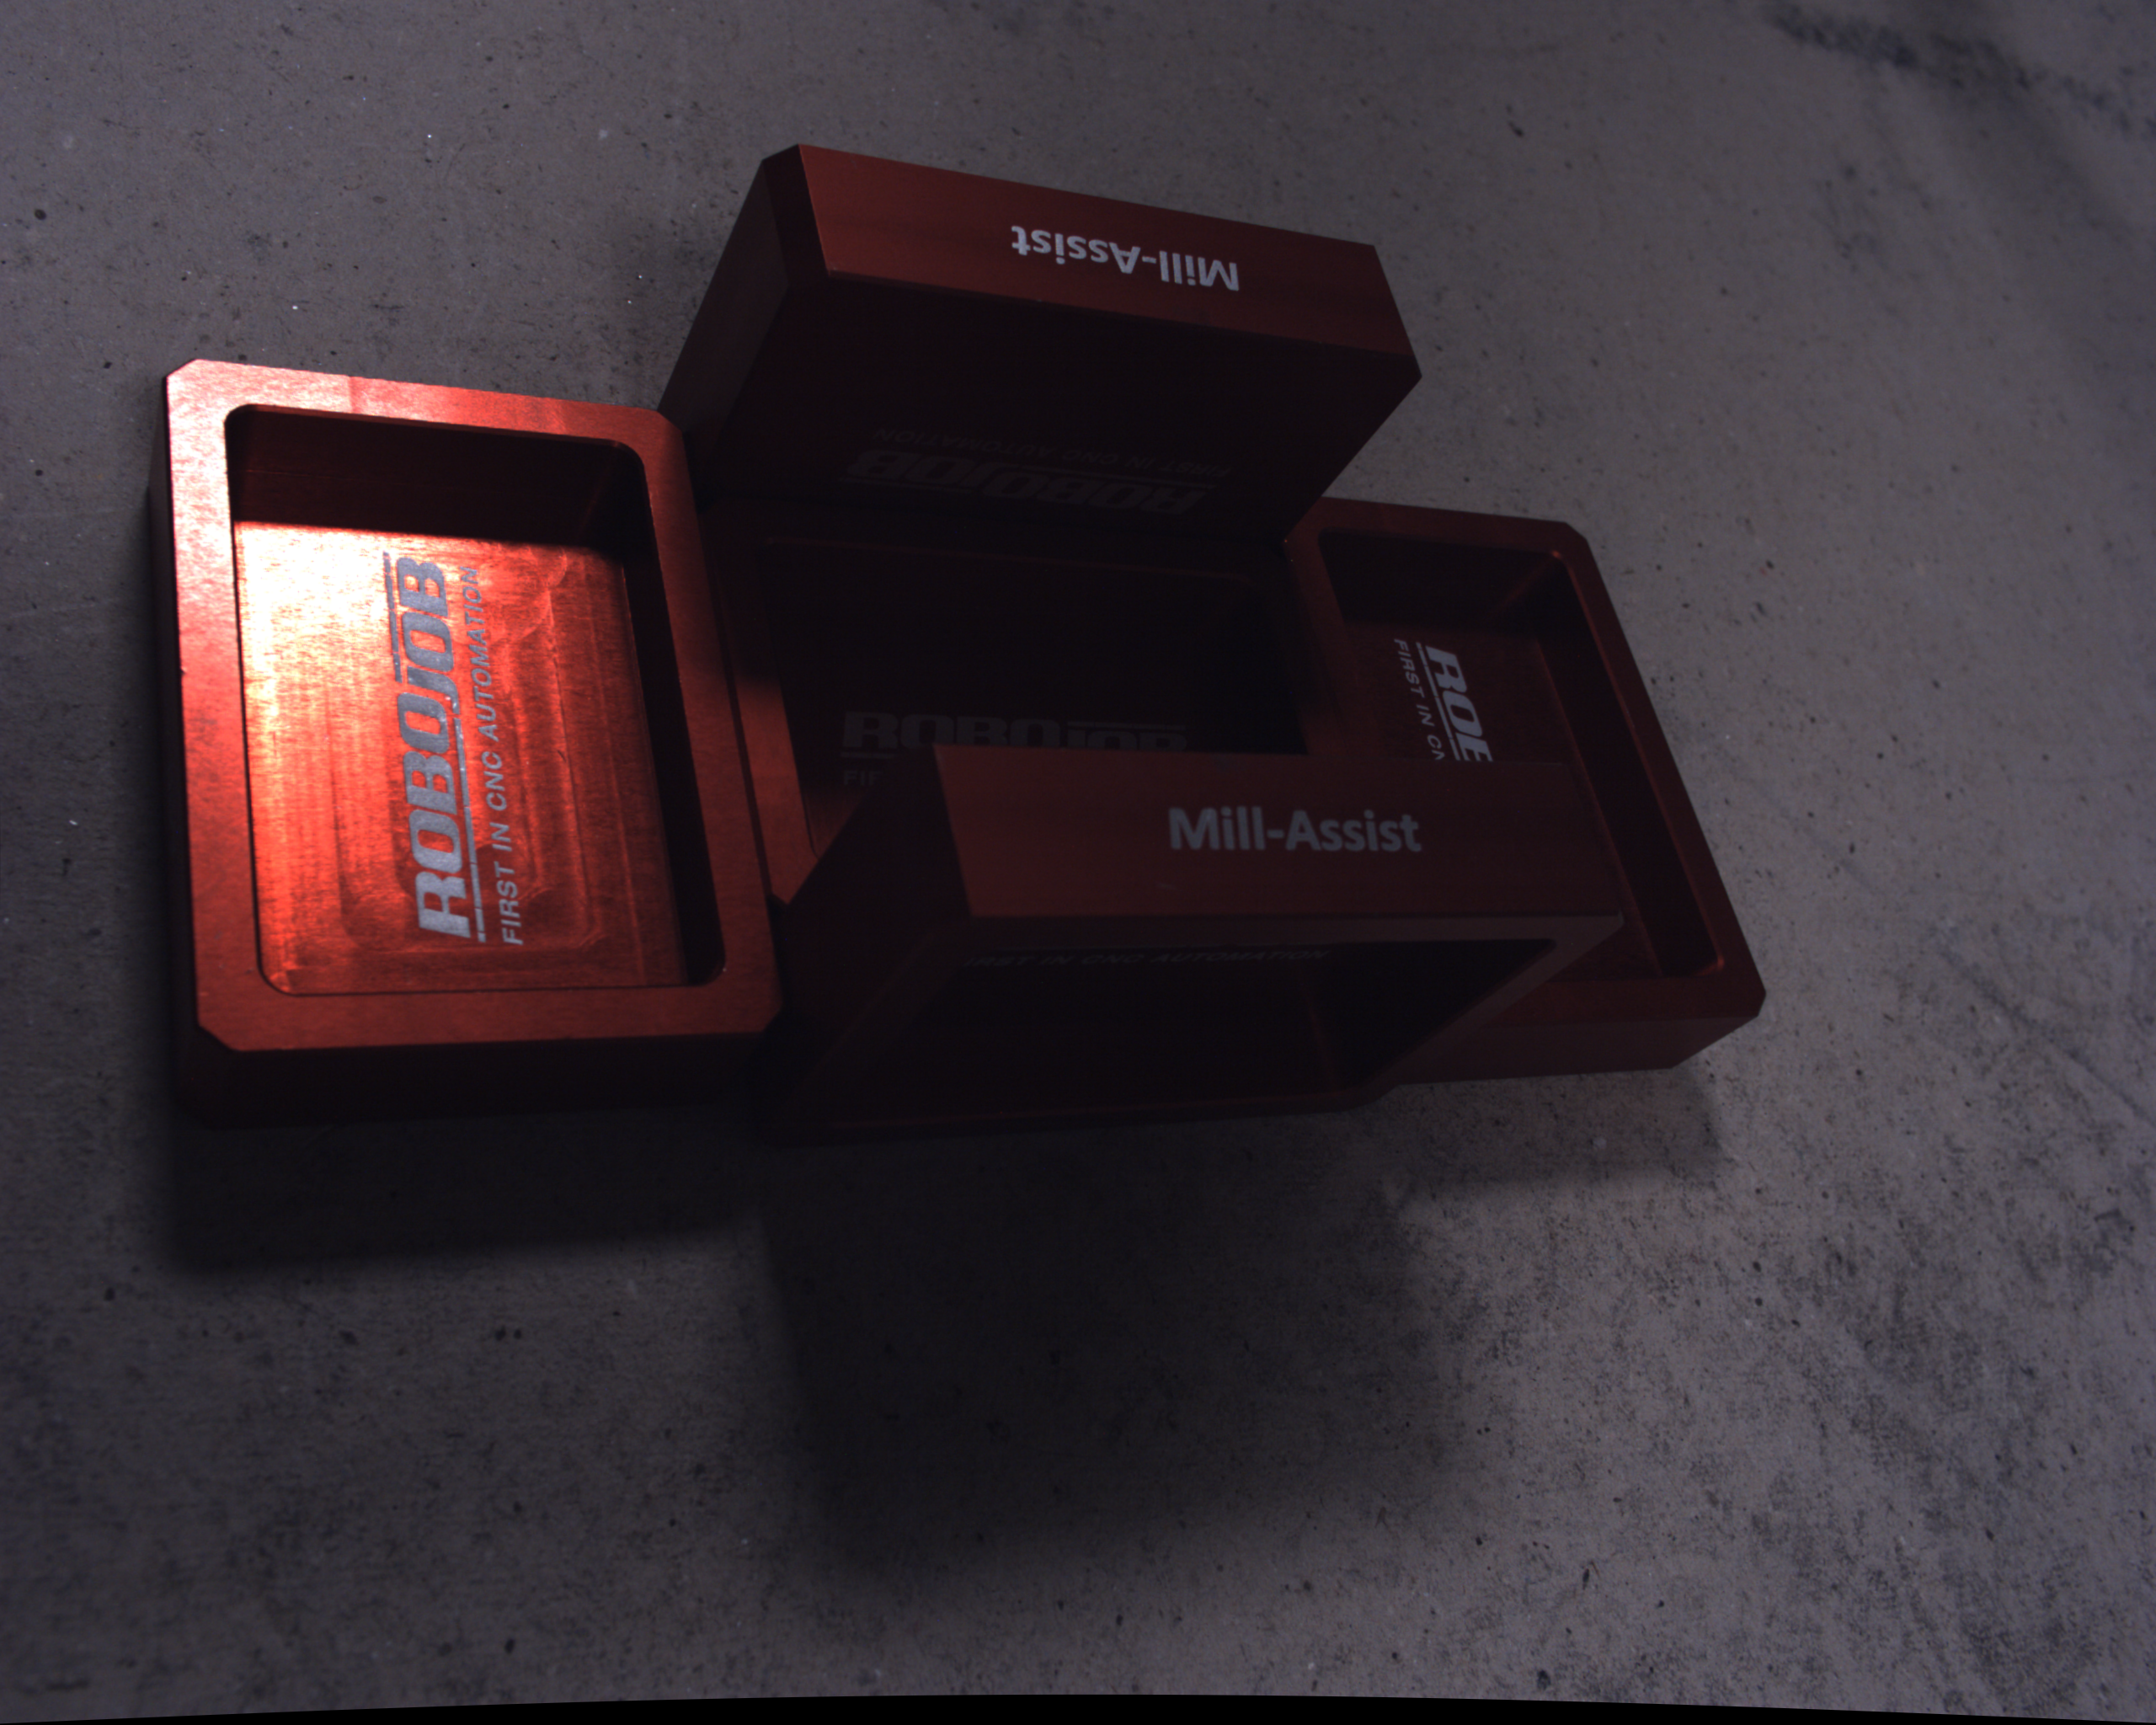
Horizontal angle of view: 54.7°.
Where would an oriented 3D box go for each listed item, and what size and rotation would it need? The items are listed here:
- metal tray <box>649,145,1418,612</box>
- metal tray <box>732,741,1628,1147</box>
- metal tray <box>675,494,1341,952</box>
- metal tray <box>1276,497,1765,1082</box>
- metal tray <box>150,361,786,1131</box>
[{"bbox_3d":[-0.011,-0.089,0.414,0.131,0.090,0.030,0,62,-29],"label":"metal tray"},{"bbox_3d":[0.017,0.016,0.362,0.131,0.090,0.030,0,62,-29],"label":"metal tray"},{"bbox_3d":[-0.010,-0.022,0.411,0.131,0.030,0.090,1,61,-28],"label":"metal tray"},{"bbox_3d":[0.089,-0.018,0.463,0.091,0.030,0.130,0,62,-28],"label":"metal tray"},{"bbox_3d":[-0.107,-0.022,0.358,0.091,0.030,0.130,0,62,-28],"label":"metal tray"}]
